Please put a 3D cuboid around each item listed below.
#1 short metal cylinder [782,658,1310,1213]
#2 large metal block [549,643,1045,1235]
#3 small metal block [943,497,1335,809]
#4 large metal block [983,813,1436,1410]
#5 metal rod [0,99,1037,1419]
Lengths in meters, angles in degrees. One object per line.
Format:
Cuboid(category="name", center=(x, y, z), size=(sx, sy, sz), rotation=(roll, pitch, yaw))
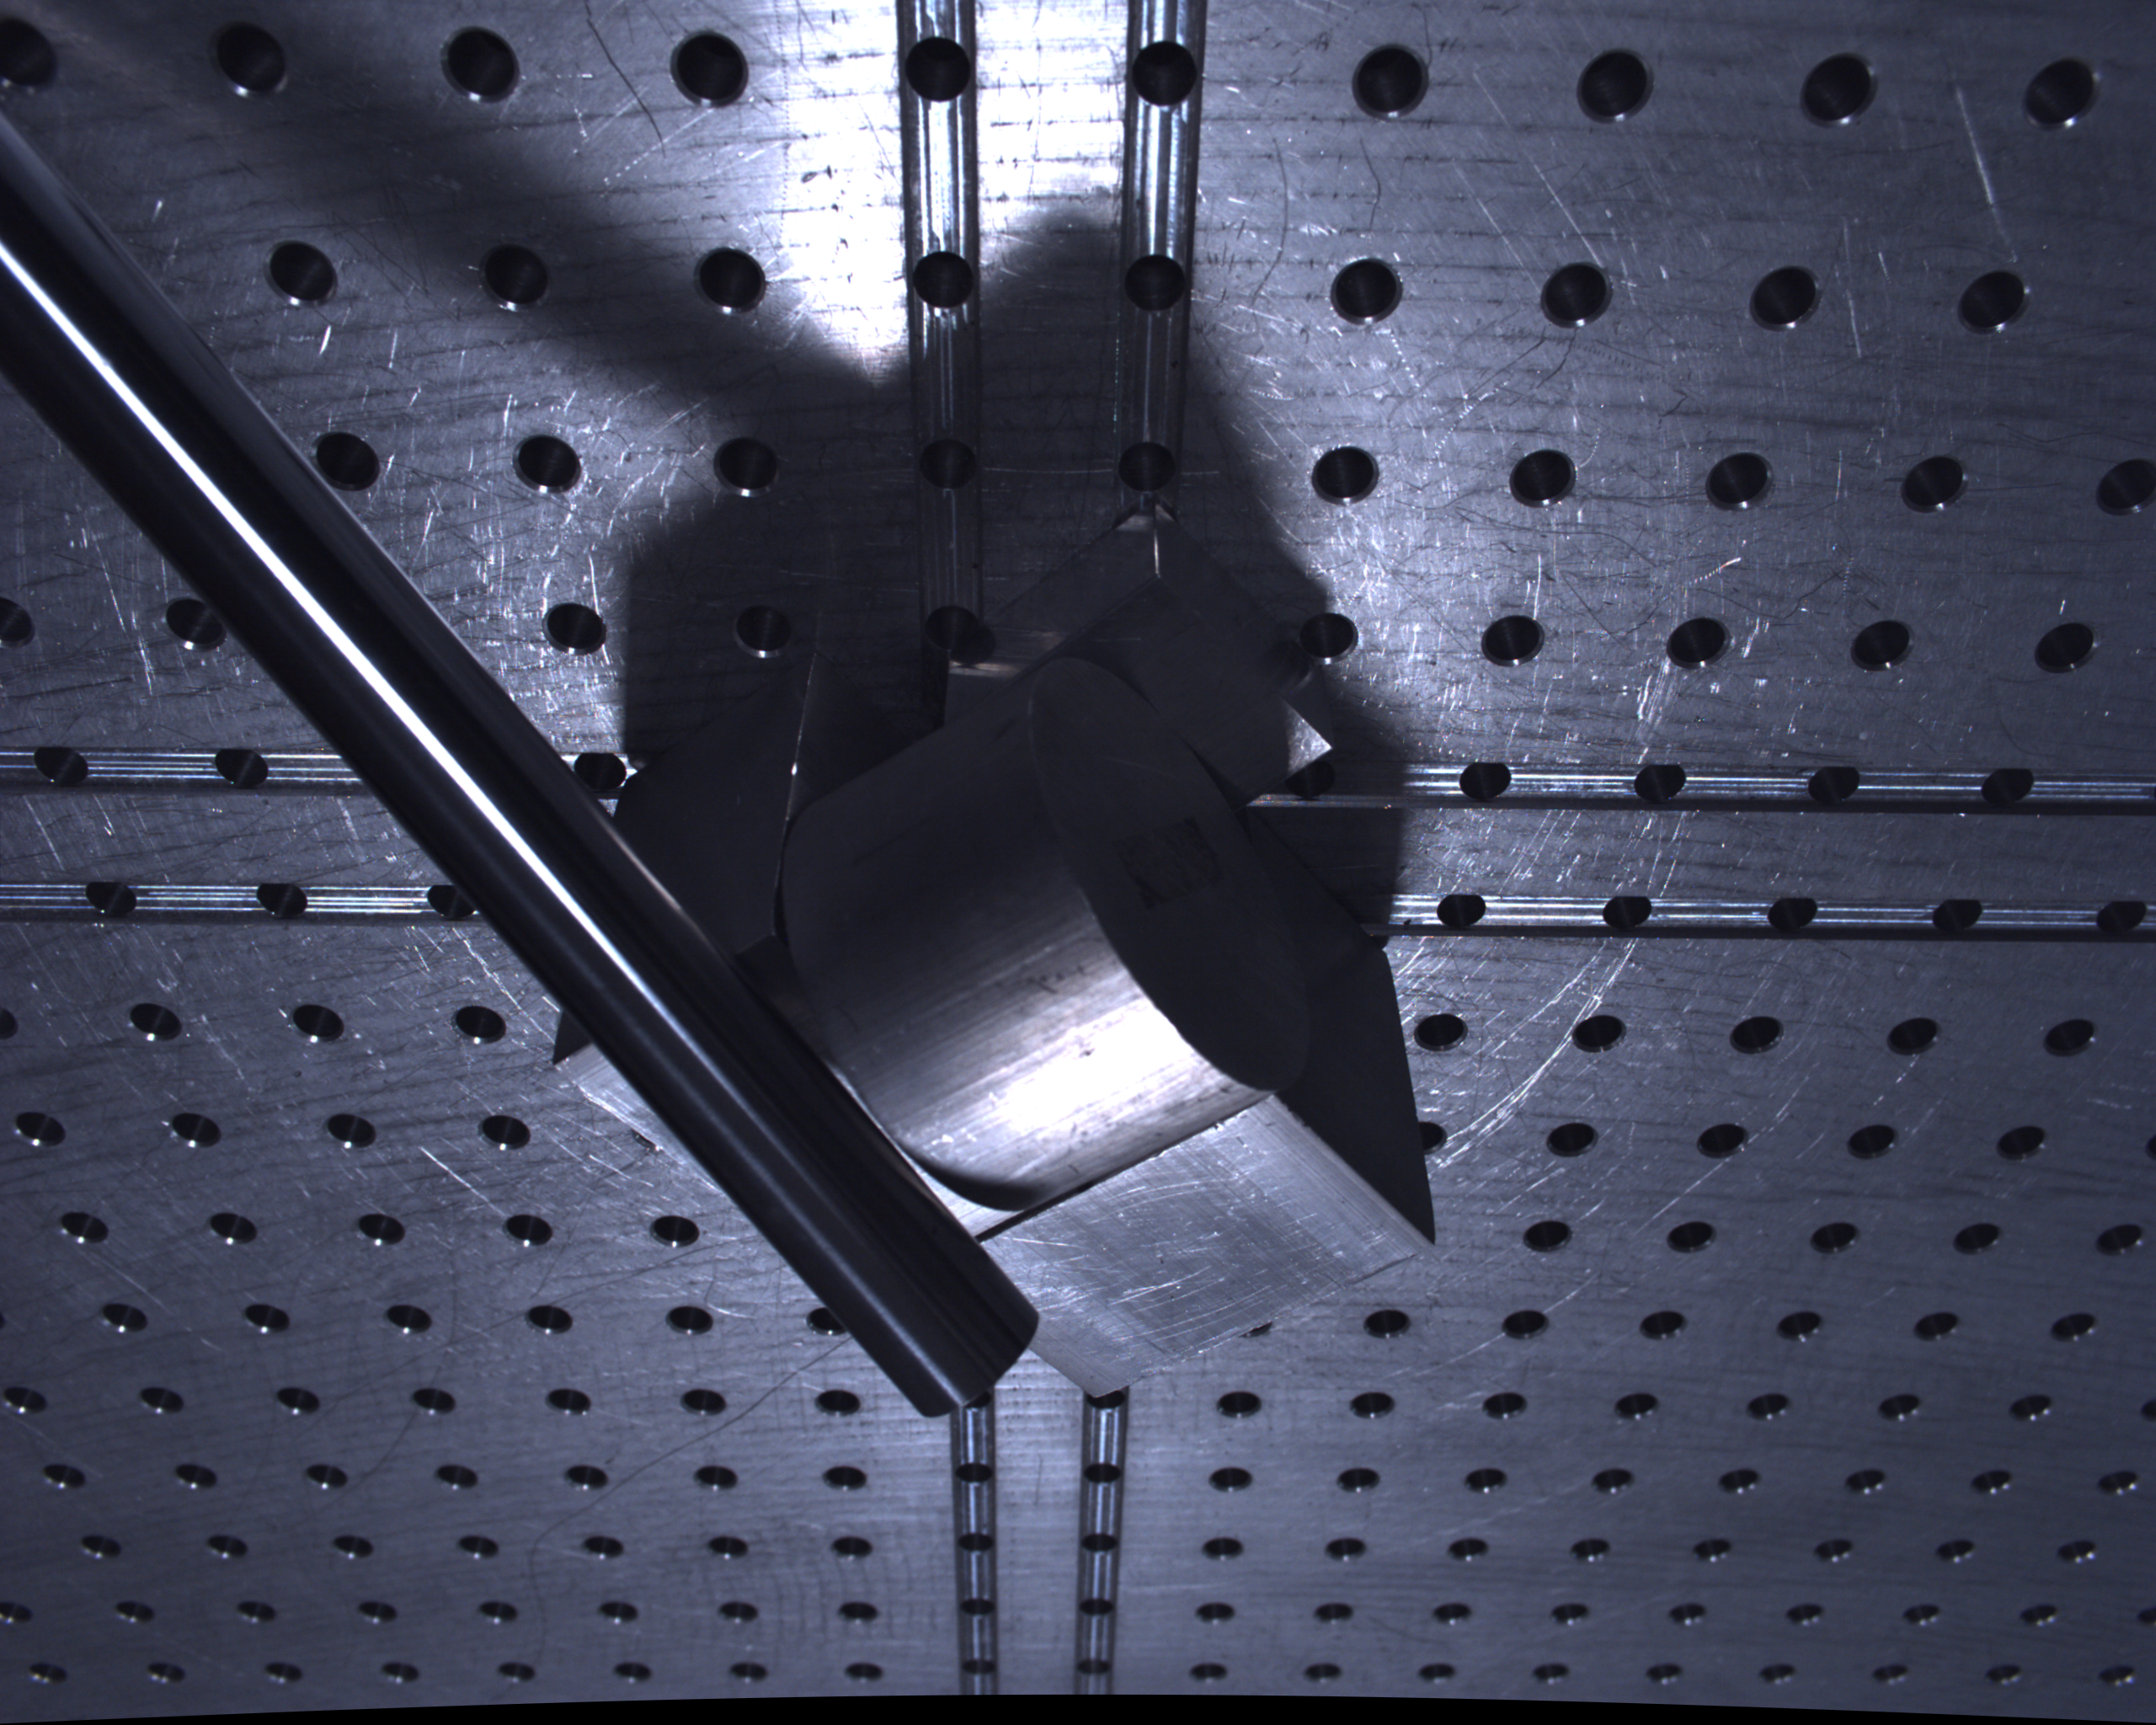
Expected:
Cuboid(category="short metal cylinder", center=(-0.004, 0.012, 0.353), size=(0.050, 0.080, 0.080), rotation=(-30, 125, 22))
Cuboid(category="large metal block", center=(-0.045, 0.020, 0.393), size=(0.050, 0.080, 0.080), rotation=(-30, 124, 23))
Cuboid(category="small metal block", center=(0.011, -0.031, 0.386), size=(0.050, 0.025, 0.050), rotation=(-34, 123, 25))
Cuboid(category="large metal block", center=(0.018, 0.049, 0.415), size=(0.080, 0.080, 0.050), rotation=(-30, 124, 23))
Cuboid(category="metal rod", center=(-0.109, -0.033, 0.313), size=(0.025, 0.025, 0.300), rotation=(-34, 102, 25))
